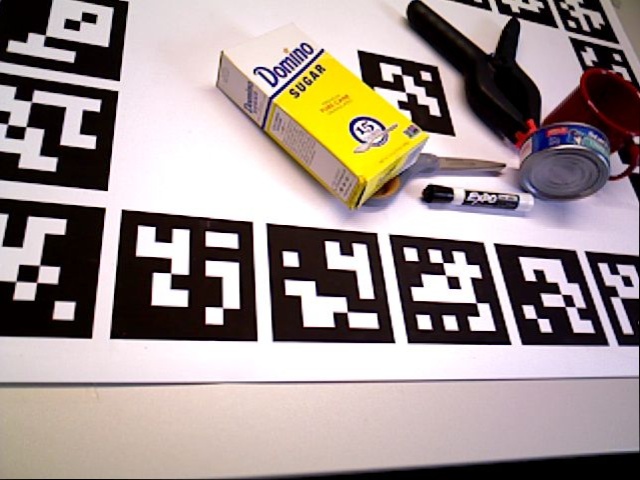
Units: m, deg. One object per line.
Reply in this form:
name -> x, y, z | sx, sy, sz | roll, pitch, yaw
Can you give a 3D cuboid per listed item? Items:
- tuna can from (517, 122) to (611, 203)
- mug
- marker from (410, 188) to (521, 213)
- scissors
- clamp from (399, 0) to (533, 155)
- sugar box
tuna can -> 0.244, -0.076, 0.548 | 0.085, 0.088, 0.033 | 20, 57, -11
mug -> 0.293, -0.116, 0.594 | 0.091, 0.083, 0.117 | -24, 71, -30
marker -> 0.141, -0.038, 0.527 | 0.119, 0.020, 0.019 | 1, 64, -21
scissors -> 0.096, -0.080, 0.528 | 0.199, 0.016, 0.087 | -5, 62, -26
clamp -> 0.190, -0.191, 0.628 | 0.163, 0.037, 0.201 | -6, 68, -25
sugar box -> 0.000, -0.116, 0.489 | 0.091, 0.046, 0.176 | -35, 74, -32
